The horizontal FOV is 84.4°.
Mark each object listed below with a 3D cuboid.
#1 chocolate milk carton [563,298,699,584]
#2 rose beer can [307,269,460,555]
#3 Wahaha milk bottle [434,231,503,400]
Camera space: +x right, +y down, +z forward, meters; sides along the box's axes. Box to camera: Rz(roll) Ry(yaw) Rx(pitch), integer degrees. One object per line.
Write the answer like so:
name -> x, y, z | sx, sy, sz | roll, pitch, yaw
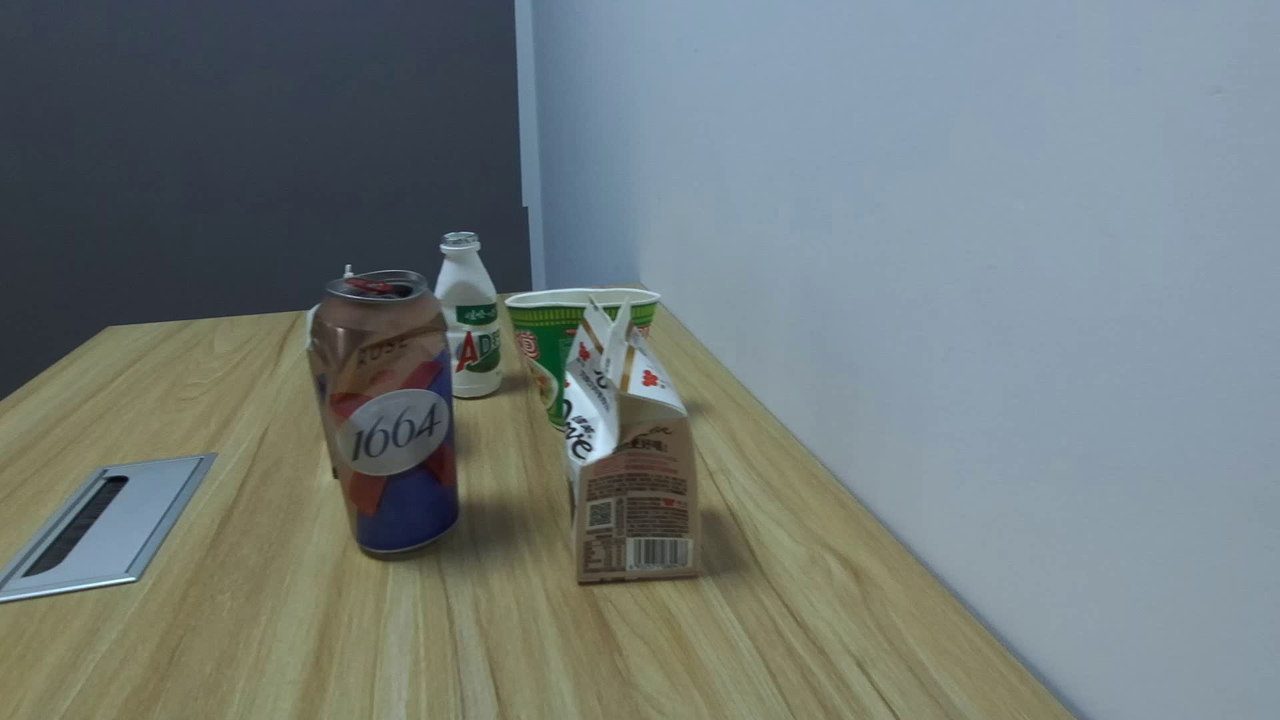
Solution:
chocolate milk carton -> -0.006, 0.042, 0.407 | 0.074, 0.155, 0.076 | -4, 22, -4
rose beer can -> -0.149, 0.034, 0.425 | 0.076, 0.167, 0.065 | -14, 27, -35
Wahaha milk bottle -> -0.158, -0.040, 0.642 | 0.056, 0.147, 0.056 | 2, 22, 0
